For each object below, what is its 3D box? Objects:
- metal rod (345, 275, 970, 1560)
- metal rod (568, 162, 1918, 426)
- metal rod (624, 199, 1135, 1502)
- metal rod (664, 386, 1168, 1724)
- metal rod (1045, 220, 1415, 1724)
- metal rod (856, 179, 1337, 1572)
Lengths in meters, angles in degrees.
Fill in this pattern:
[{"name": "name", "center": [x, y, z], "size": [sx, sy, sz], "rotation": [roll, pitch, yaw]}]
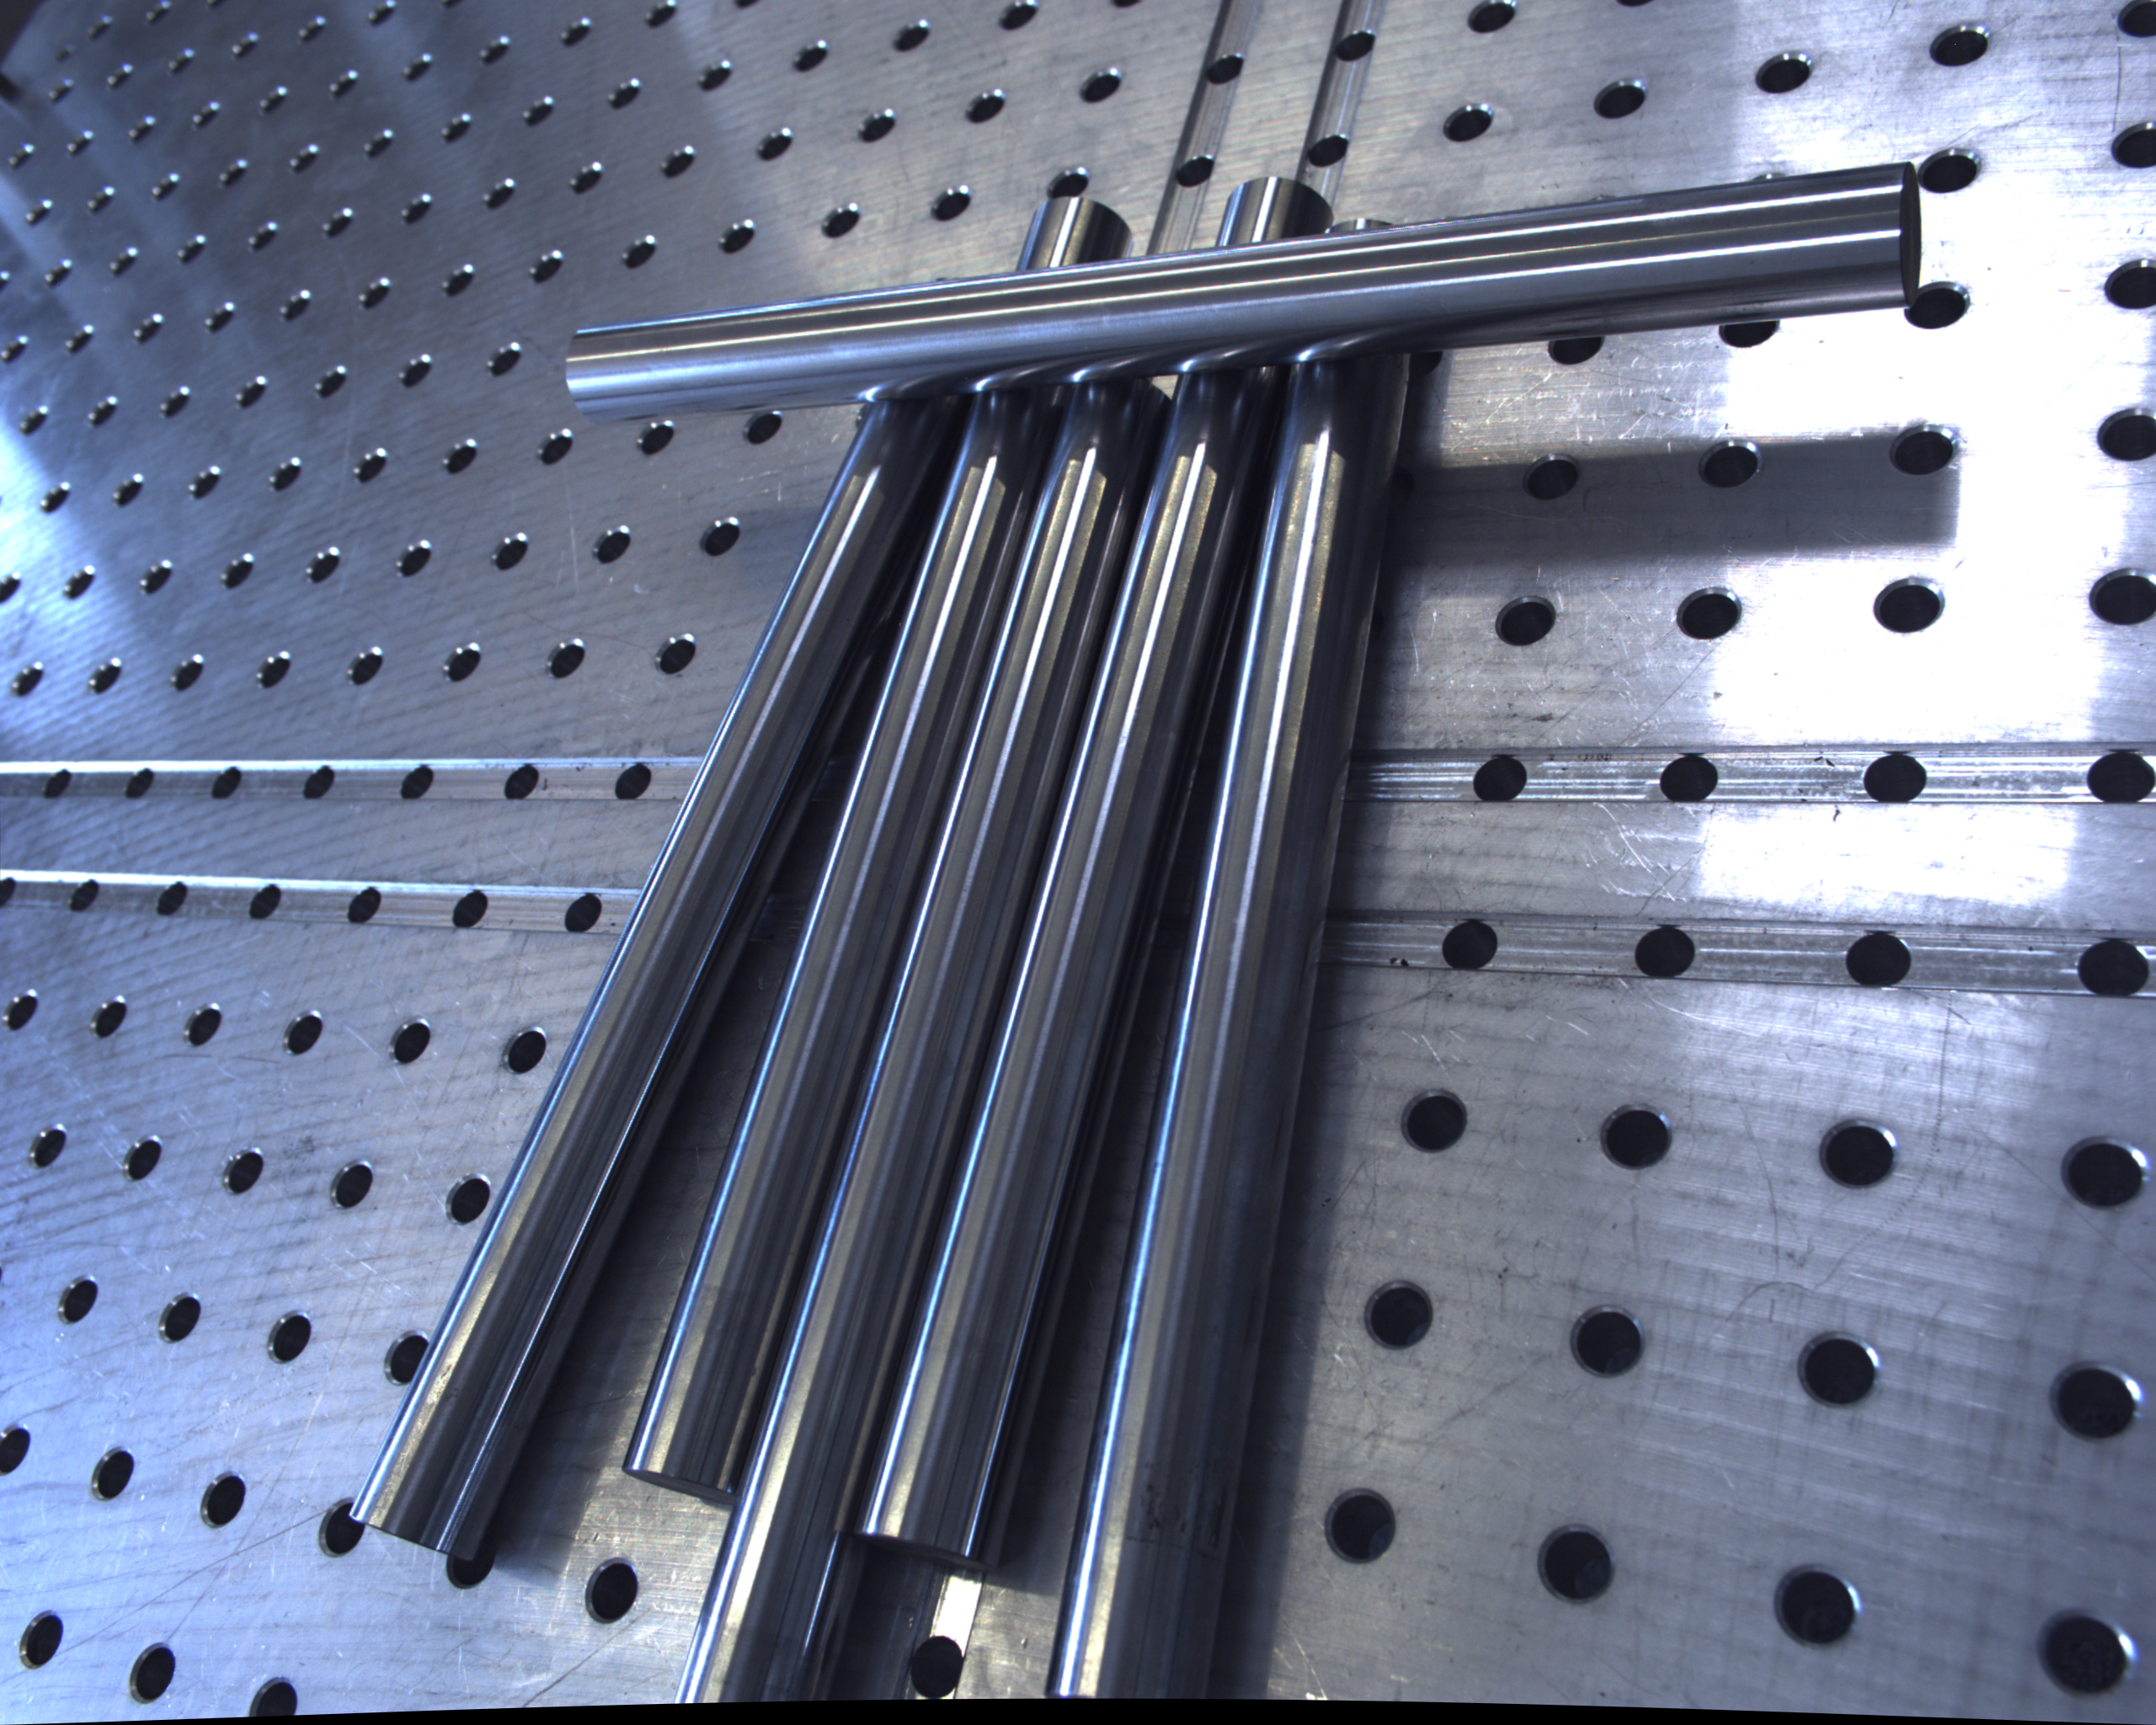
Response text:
[{"name": "metal rod", "center": [-0.077, -0.003, 0.450], "size": [0.025, 0.025, 0.300], "rotation": [8, 65, 31]}, {"name": "metal rod", "center": [0.015, -0.115, 0.439], "size": [0.300, 0.025, 0.025], "rotation": [2, 63, 29]}, {"name": "metal rod", "center": [-0.034, -0.019, 0.439], "size": [0.025, 0.025, 0.300], "rotation": [1, 62, 29]}, {"name": "metal rod", "center": [-0.025, 0.031, 0.404], "size": [0.025, 0.025, 0.300], "rotation": [1, 62, 29]}, {"name": "metal rod", "center": [0.036, 0.000, 0.391], "size": [0.025, 0.025, 0.300], "rotation": [-2, 60, 27]}, {"name": "metal rod", "center": [0.011, -0.015, 0.414], "size": [0.025, 0.025, 0.300], "rotation": [1, 62, 29]}]
